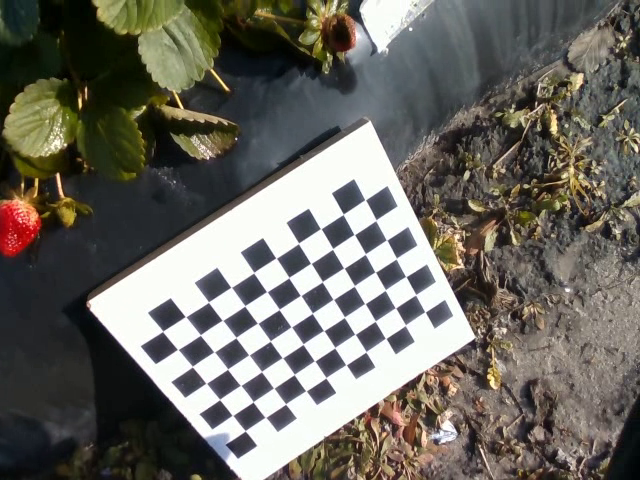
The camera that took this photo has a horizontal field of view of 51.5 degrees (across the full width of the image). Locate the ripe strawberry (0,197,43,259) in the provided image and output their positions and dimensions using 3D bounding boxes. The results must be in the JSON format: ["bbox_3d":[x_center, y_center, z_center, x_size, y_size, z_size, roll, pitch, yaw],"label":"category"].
[{"bbox_3d":[-0.259,-0.012,0.543,0.043,0.053,0.038,10,-23,-21],"label":"ripe strawberry"}]
